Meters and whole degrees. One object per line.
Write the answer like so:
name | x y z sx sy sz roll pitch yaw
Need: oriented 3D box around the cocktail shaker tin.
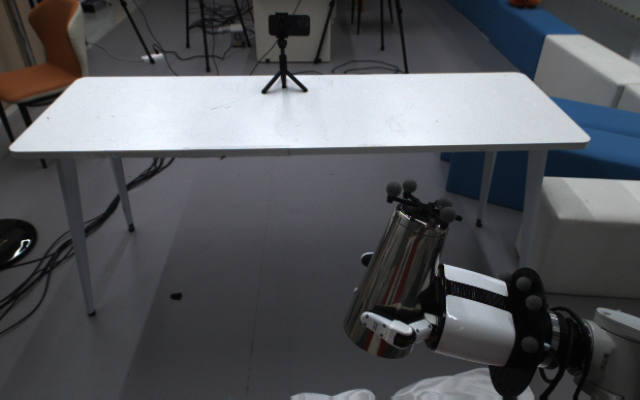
cocktail shaker tin | 0.097 0.093 0.586 0.093 0.170 0.093 14 20 -5
